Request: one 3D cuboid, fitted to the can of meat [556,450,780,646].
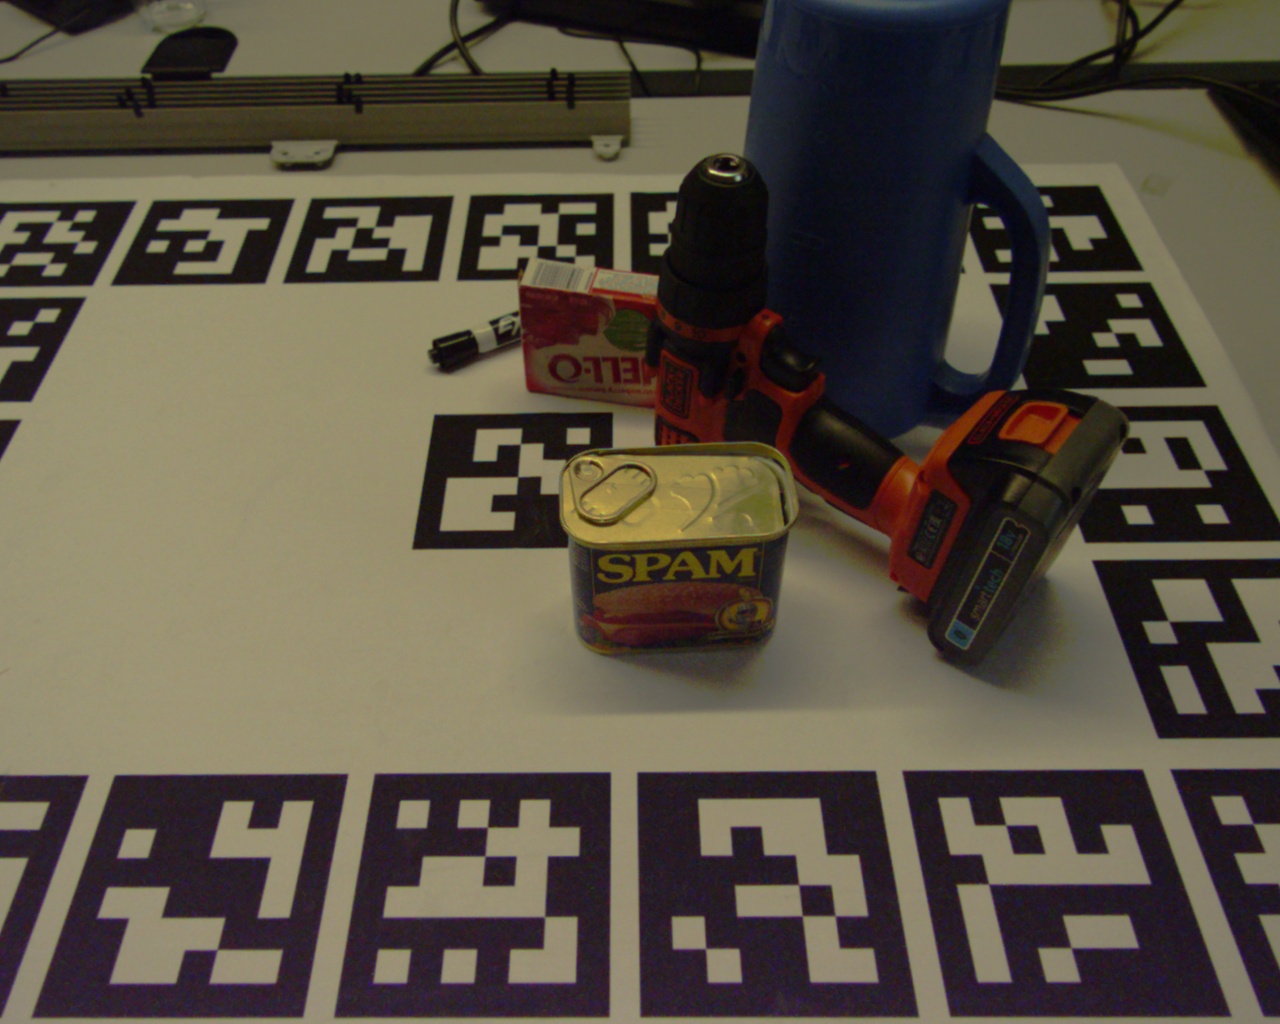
[{"bbox_3d":[0.012,0.019,0.553,0.102,0.083,0.058,-1,47,-1],"label":"can of meat"}]

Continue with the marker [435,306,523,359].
[{"bbox_3d":[-0.072,-0.123,0.724,0.120,0.019,0.020,-22,53,-16],"label":"marker"}]

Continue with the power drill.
[{"bbox_3d":[0.079,-0.060,0.560,0.188,0.184,0.057,31,58,18],"label":"power drill"}]

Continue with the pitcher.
[{"bbox_3d":[0.127,-0.153,0.611,0.191,0.241,0.132,22,55,27],"label":"pitcher"}]

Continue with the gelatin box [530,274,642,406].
[{"bbox_3d":[-0.018,-0.098,0.669,0.090,0.073,0.030,9,53,7],"label":"gelatin box"}]
